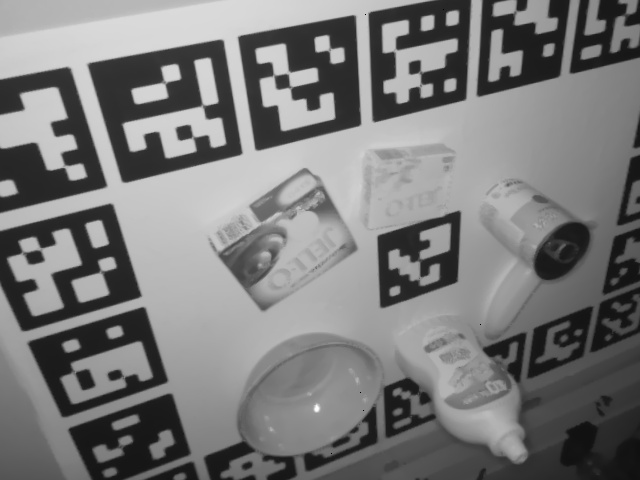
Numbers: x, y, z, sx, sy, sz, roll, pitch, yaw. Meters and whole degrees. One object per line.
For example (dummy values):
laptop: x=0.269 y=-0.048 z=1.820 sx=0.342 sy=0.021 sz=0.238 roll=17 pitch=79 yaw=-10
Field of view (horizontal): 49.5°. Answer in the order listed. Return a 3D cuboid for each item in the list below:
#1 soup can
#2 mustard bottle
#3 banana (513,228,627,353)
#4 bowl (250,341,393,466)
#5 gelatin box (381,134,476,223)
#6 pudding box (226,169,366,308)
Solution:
soup can: x=0.252 y=-0.007 z=0.721 sx=0.068 sy=0.102 sz=0.067 roll=-11 pitch=125 yaw=-16
mustard bottle: x=0.185 y=0.172 z=0.735 sx=0.097 sy=0.191 sz=0.058 roll=-15 pitch=127 yaw=-15
banana: x=0.287 y=0.056 z=0.824 sx=0.075 sy=0.038 sz=0.196 roll=23 pitch=107 yaw=-44
bowl: x=-0.005 y=0.164 z=0.744 sx=0.163 sy=0.055 sz=0.160 roll=-13 pitch=124 yaw=-19
gelatin box: x=0.106 y=-0.060 z=0.676 sx=0.090 sy=0.030 sz=0.072 roll=-10 pitch=119 yaw=-20
pudding box: x=-0.017 y=0.002 z=0.649 sx=0.114 sy=0.038 sz=0.090 roll=-36 pitch=121 yaw=-2
